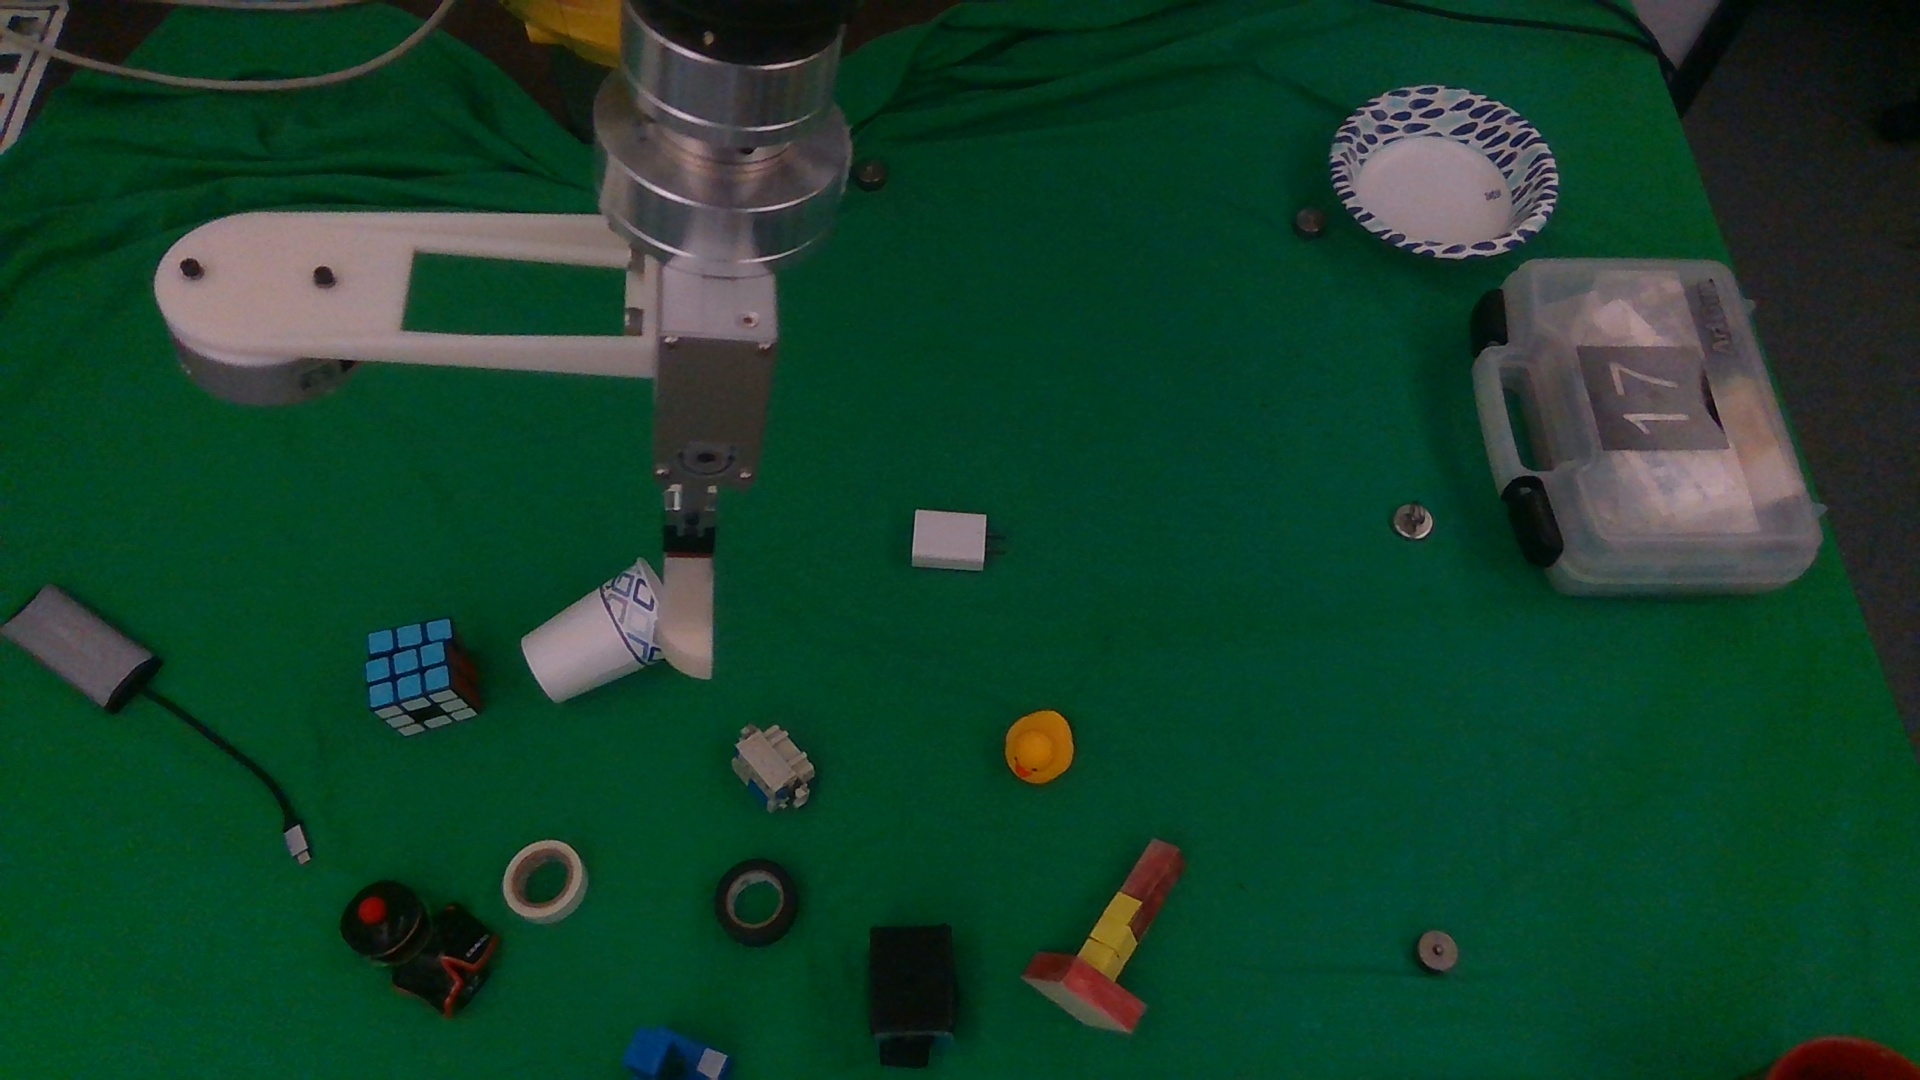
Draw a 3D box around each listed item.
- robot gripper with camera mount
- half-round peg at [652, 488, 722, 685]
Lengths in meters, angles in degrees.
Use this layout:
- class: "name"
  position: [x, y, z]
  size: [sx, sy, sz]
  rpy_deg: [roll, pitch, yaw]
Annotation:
- class: "robot gripper with camera mount"
  position: [-0.178, -0.053, 0.499]
  size: [0.193, 0.159, 0.119]
  rpy_deg: [4, 52, -13]
- class: "half-round peg"
  position: [-0.121, 0.012, 0.611]
  size: [0.031, 0.122, 0.054]
  rpy_deg: [3, 54, -9]
